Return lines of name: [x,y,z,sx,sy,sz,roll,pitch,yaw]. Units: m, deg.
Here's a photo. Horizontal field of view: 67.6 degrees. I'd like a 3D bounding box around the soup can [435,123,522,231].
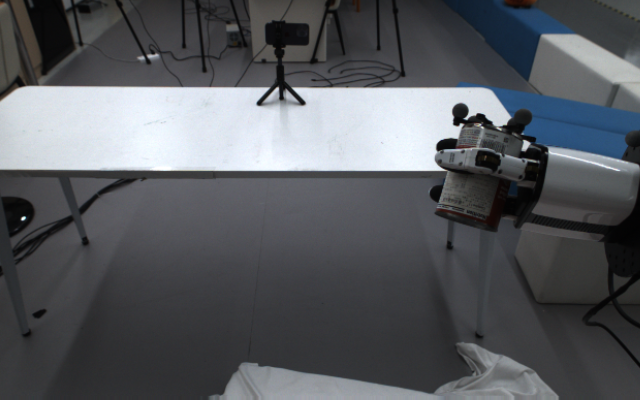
soup can: [0.172,-0.027,0.525,0.067,0.101,0.067,17,-2,1]
